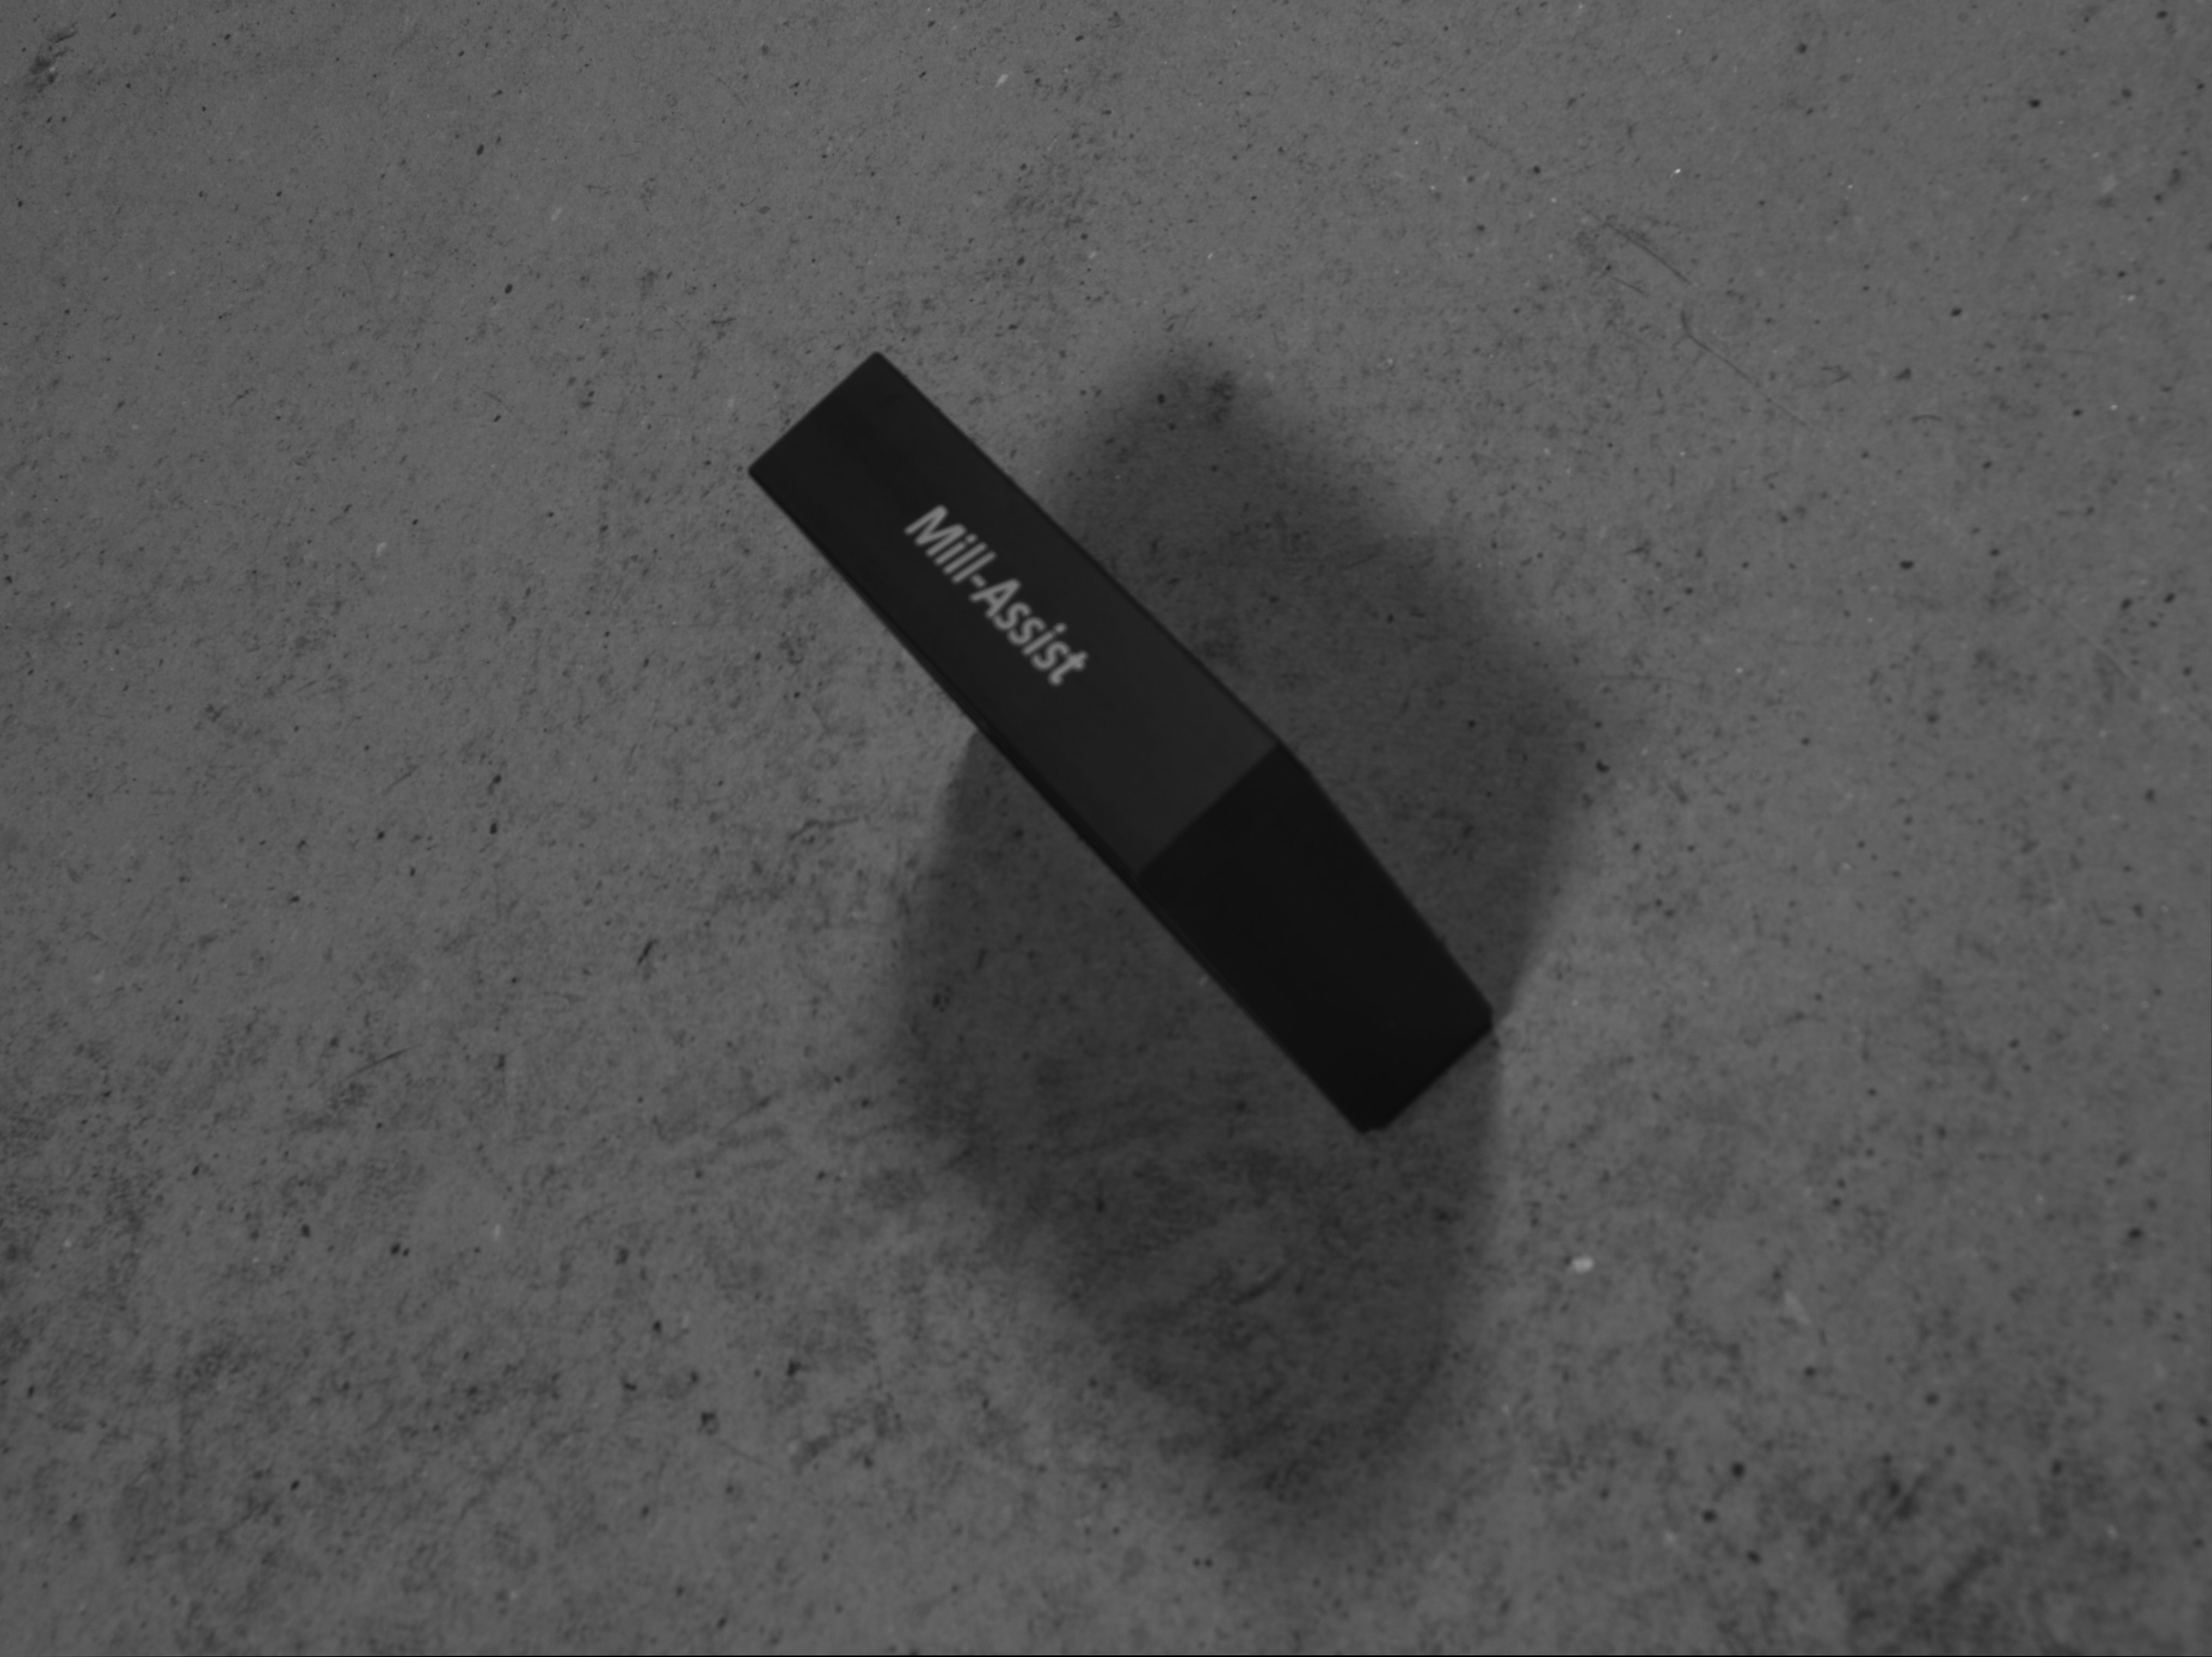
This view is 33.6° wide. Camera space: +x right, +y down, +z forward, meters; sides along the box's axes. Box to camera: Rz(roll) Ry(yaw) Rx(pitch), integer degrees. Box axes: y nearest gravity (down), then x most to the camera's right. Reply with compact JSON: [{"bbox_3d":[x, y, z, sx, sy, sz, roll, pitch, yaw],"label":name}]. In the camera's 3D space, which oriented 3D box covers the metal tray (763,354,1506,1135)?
[{"bbox_3d":[0.004,-0.015,0.609,0.030,0.090,0.130,-43,51,-1],"label":"metal tray"}]
